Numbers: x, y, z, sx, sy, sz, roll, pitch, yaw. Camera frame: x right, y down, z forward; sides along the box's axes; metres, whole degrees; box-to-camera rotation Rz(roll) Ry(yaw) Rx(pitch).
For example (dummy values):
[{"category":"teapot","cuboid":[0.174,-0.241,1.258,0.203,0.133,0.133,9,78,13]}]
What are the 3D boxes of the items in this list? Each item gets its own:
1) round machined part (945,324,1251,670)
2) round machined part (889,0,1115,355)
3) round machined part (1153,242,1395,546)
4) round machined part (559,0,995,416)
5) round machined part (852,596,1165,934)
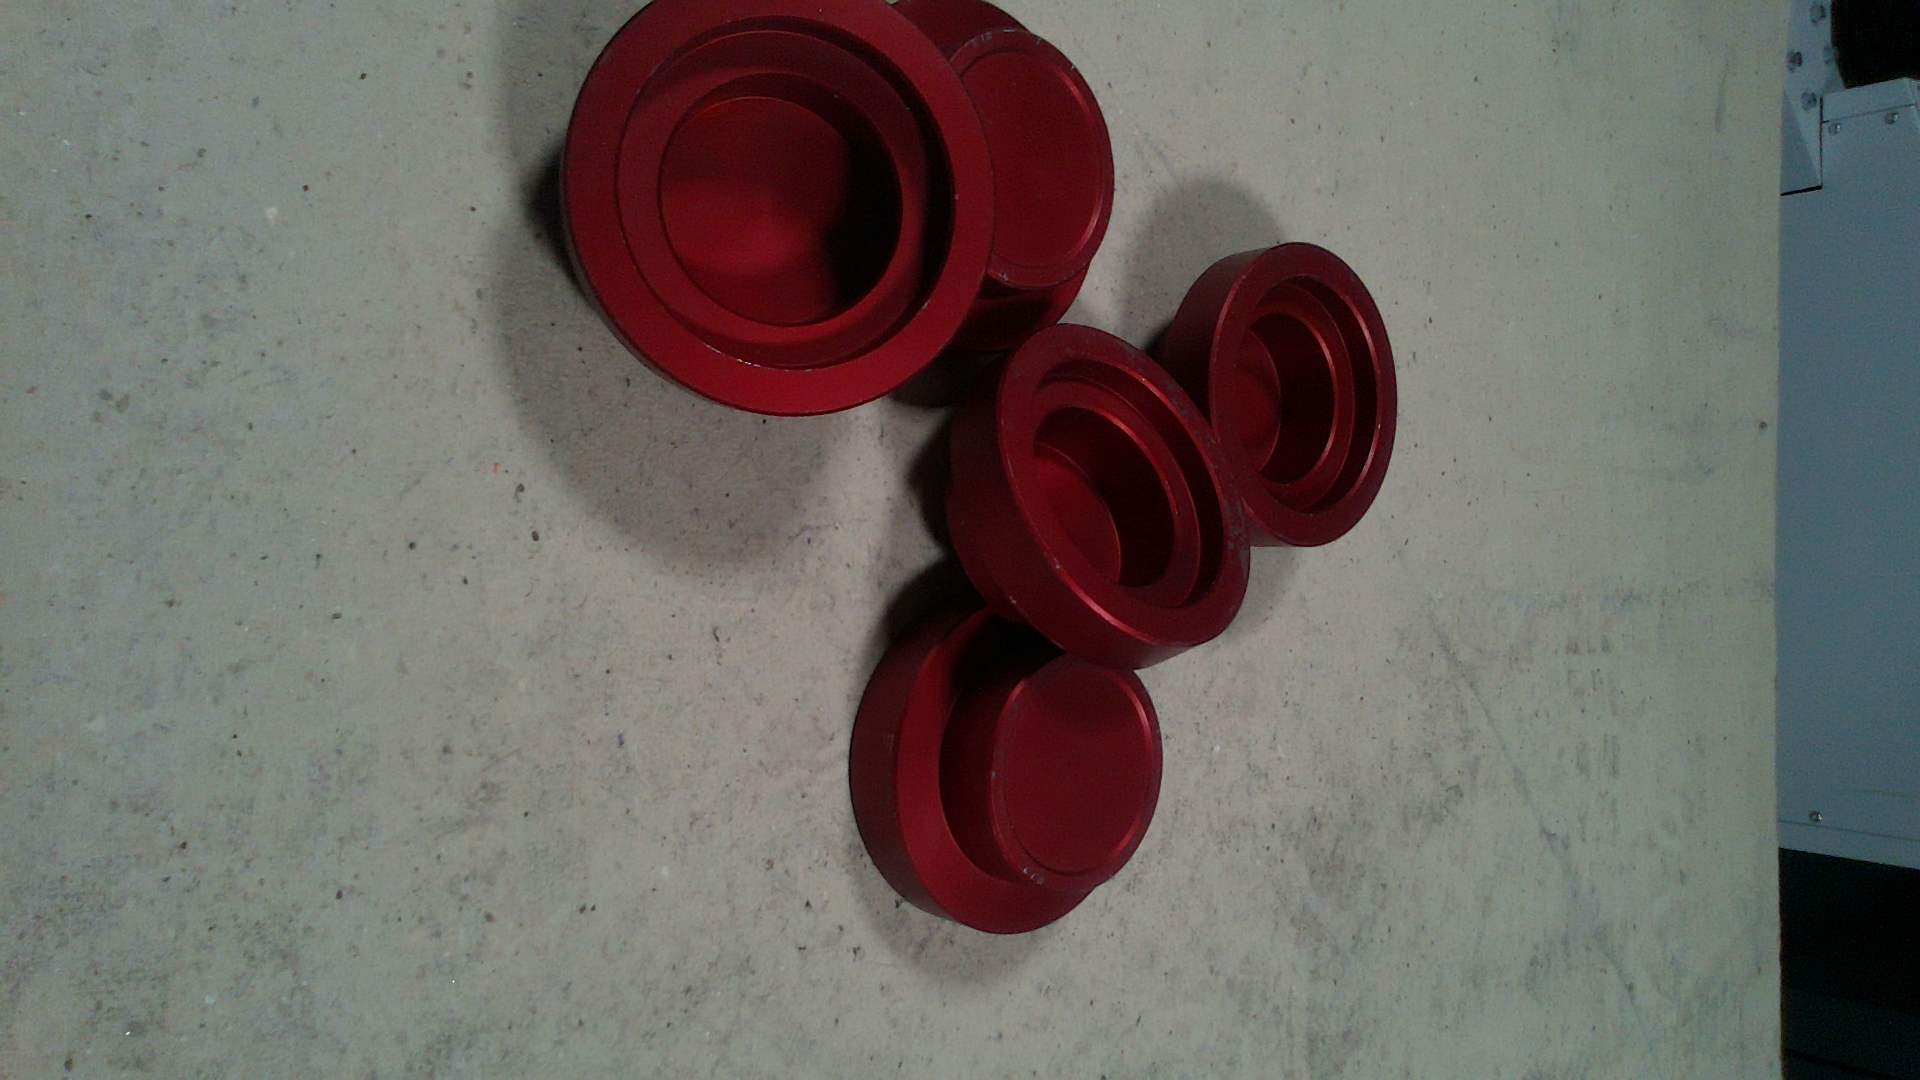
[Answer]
[{"category":"round machined part","cuboid":[0.035,-0.009,0.393,0.098,0.042,0.098,22,54,-32]},{"category":"round machined part","cuboid":[0.005,-0.101,0.381,0.098,0.042,0.098,0,90,-40]},{"category":"round machined part","cuboid":[0.100,-0.047,0.461,0.098,0.042,0.098,0,90,-40]},{"category":"round machined part","cuboid":[-0.044,-0.079,0.327,0.098,0.042,0.098,-2,98,-18]},{"category":"round machined part","cuboid":[0.021,0.064,0.395,0.098,0.042,0.098,0,90,-40]}]
